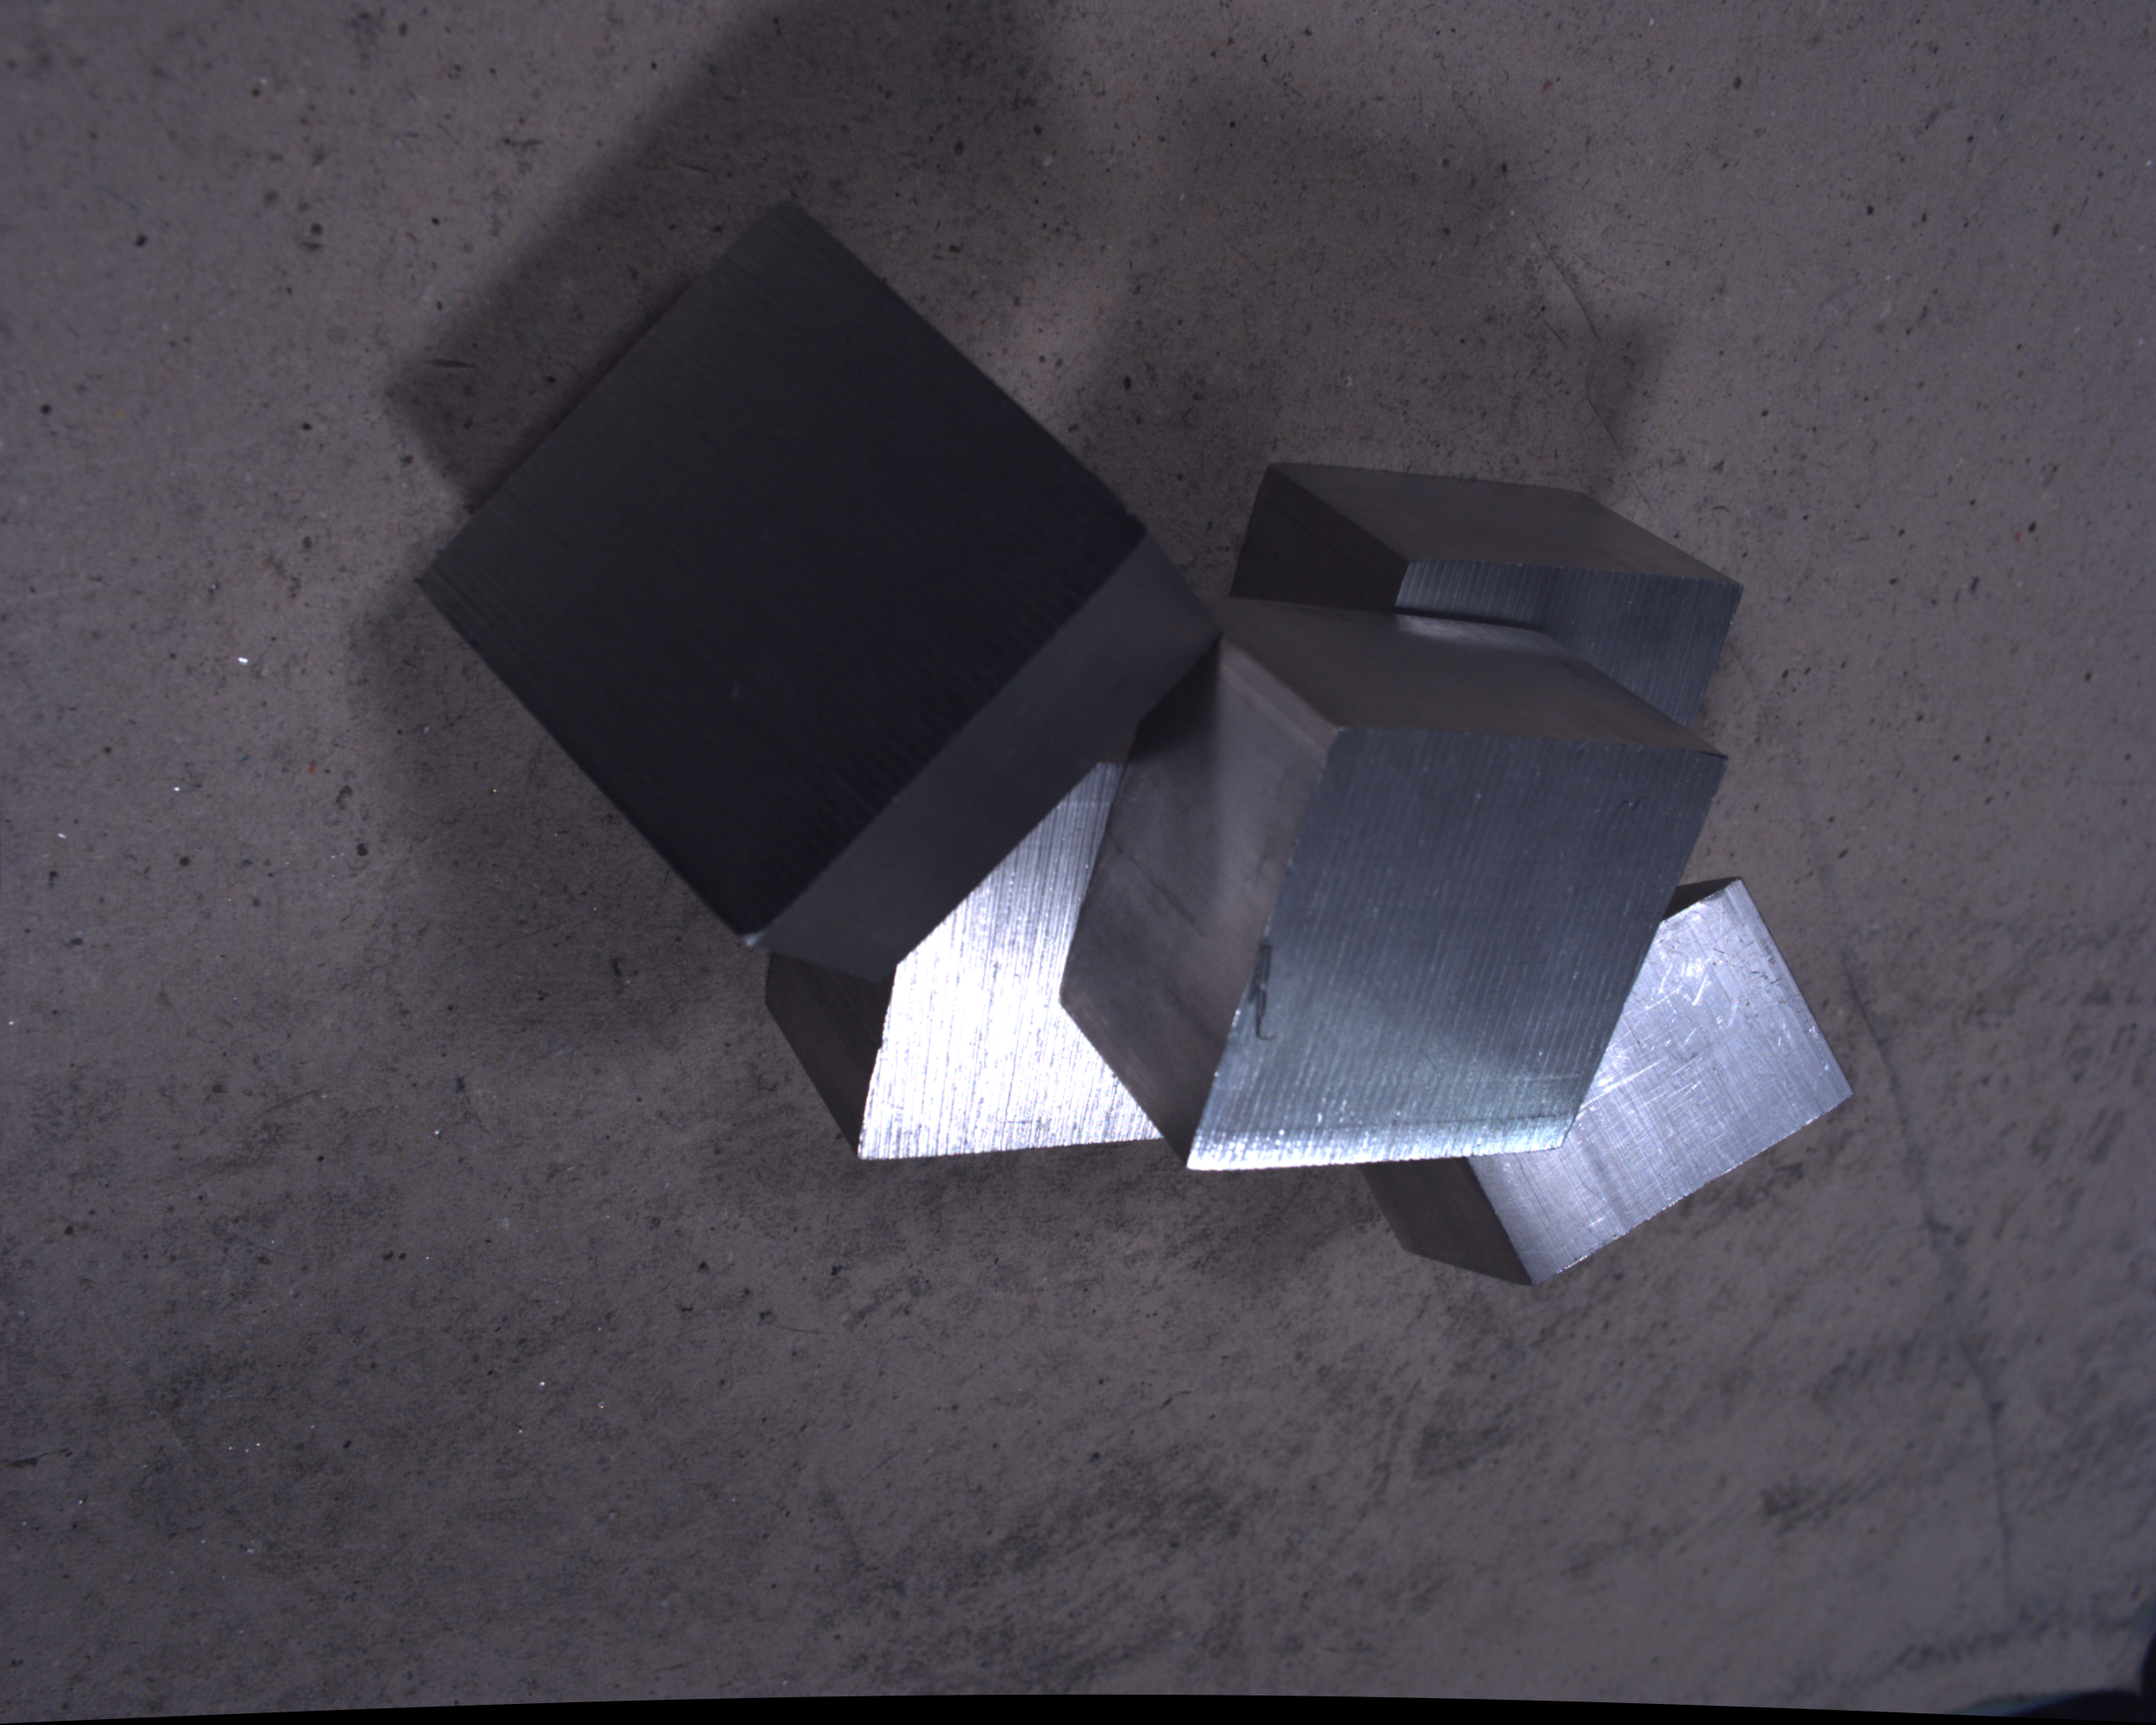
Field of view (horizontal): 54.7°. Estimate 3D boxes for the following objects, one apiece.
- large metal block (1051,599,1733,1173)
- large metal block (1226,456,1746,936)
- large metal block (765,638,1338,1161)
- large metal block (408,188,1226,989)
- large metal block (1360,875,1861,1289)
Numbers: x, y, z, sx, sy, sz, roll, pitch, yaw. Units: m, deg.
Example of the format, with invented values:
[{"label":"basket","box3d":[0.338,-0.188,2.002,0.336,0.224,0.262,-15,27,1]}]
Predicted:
[{"label":"large metal block","box3d":[0.051,0.004,0.357,0.081,0.050,0.079,2,118,-30]},{"label":"large metal block","box3d":[0.073,-0.031,0.415,0.081,0.050,0.079,0,119,-29]},{"label":"large metal block","box3d":[-0.006,0.006,0.391,0.081,0.050,0.079,0,119,-29]},{"label":"large metal block","box3d":[-0.038,-0.039,0.320,0.080,0.080,0.050,-46,163,3]},{"label":"large metal block","box3d":[0.105,0.046,0.452,0.080,0.080,0.050,-28,90,-11]}]
